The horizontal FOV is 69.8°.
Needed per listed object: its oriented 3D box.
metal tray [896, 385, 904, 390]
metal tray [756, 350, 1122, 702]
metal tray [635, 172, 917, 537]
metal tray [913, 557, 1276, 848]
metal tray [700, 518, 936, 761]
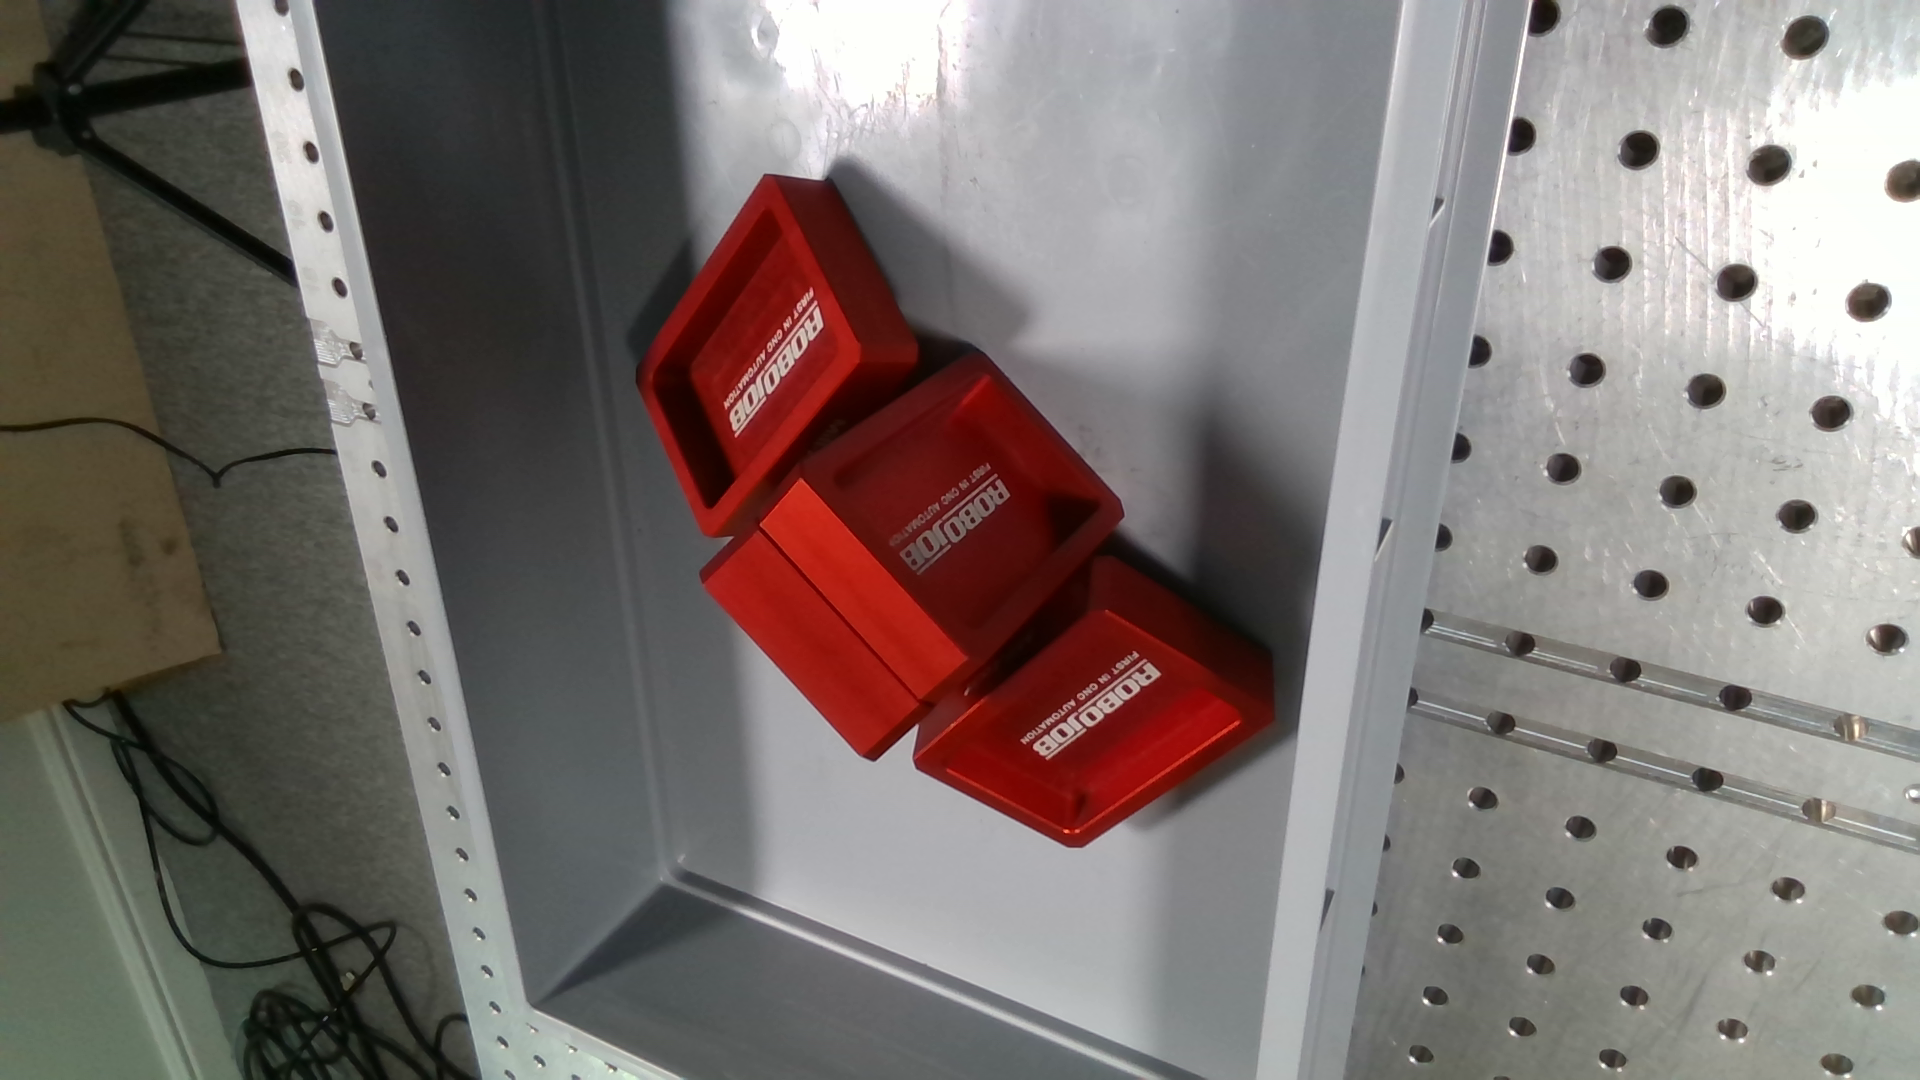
[{"bbox_3d":[-0.017,0.006,0.589,0.130,0.030,0.090,47,129,1],"label":"metal tray"},{"bbox_3d":[-0.003,-0.010,0.505,0.090,0.130,0.030,47,129,1],"label":"metal tray"},{"bbox_3d":[-0.080,-0.072,0.562,0.130,0.030,0.090,-44,65,40],"label":"metal tray"},{"bbox_3d":[0.052,0.070,0.559,0.090,0.030,0.130,30,132,-18],"label":"metal tray"},{"bbox_3d":[-0.037,0.024,0.531,0.030,0.130,0.090,-43,89,16],"label":"metal tray"}]
